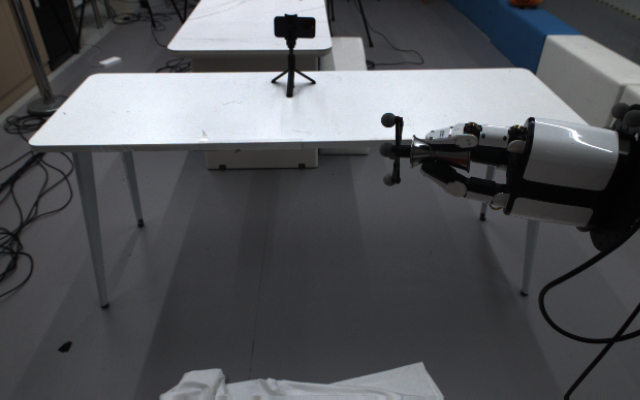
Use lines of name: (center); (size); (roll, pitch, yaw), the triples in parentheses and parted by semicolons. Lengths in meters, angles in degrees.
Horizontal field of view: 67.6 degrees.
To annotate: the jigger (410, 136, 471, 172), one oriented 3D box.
jigger: (0.151, -0.060, 0.578); (0.071, 0.043, 0.043); (3, 34, 15)
